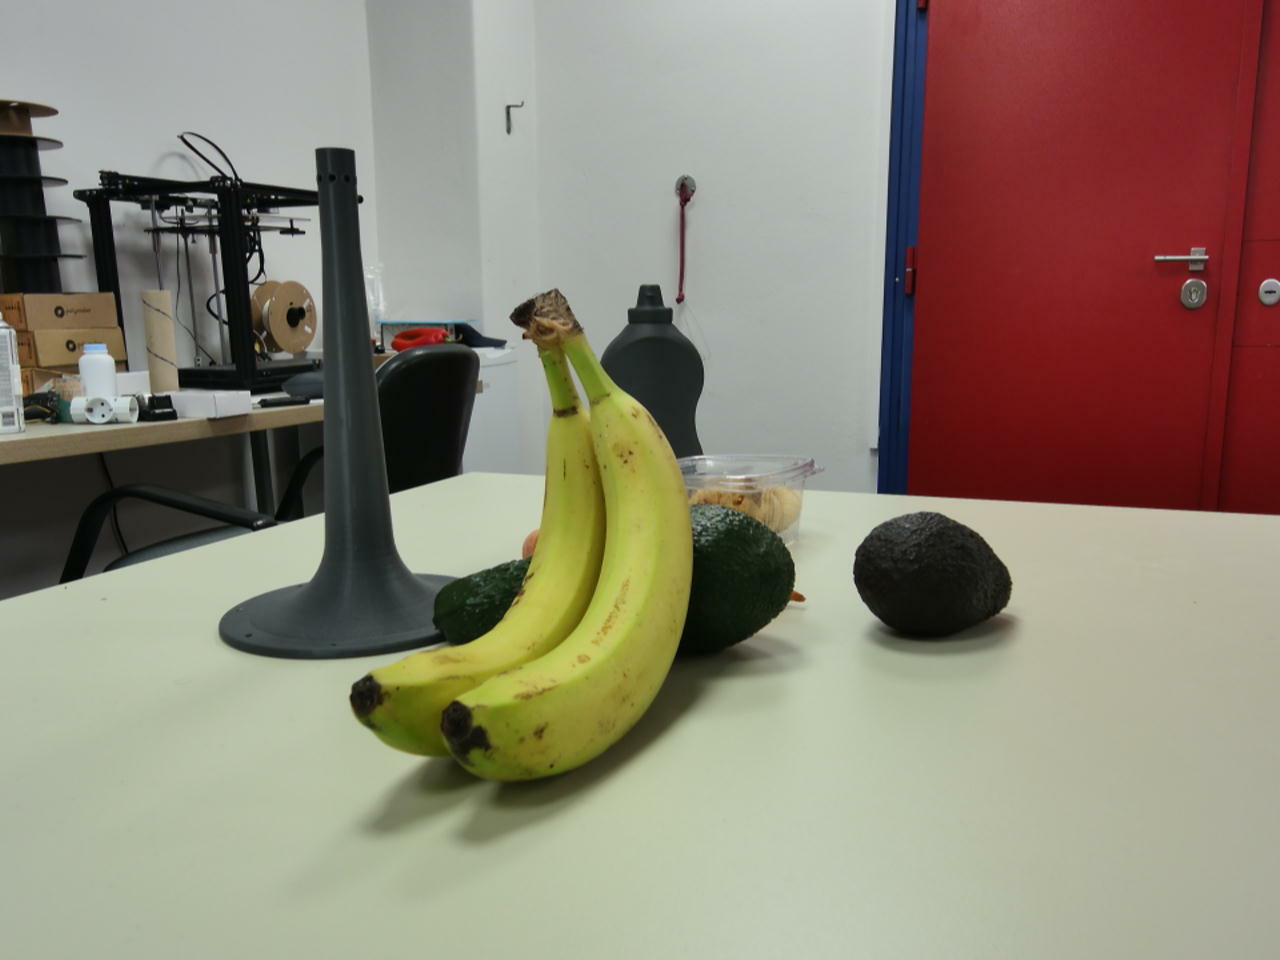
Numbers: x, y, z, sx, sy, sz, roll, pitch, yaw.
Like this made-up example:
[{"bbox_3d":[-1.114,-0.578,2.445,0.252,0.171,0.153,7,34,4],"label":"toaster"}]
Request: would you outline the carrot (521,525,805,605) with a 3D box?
[{"bbox_3d":[0.012,0.054,0.648,0.196,0.041,0.039,3,8,23],"label":"carrot"}]
